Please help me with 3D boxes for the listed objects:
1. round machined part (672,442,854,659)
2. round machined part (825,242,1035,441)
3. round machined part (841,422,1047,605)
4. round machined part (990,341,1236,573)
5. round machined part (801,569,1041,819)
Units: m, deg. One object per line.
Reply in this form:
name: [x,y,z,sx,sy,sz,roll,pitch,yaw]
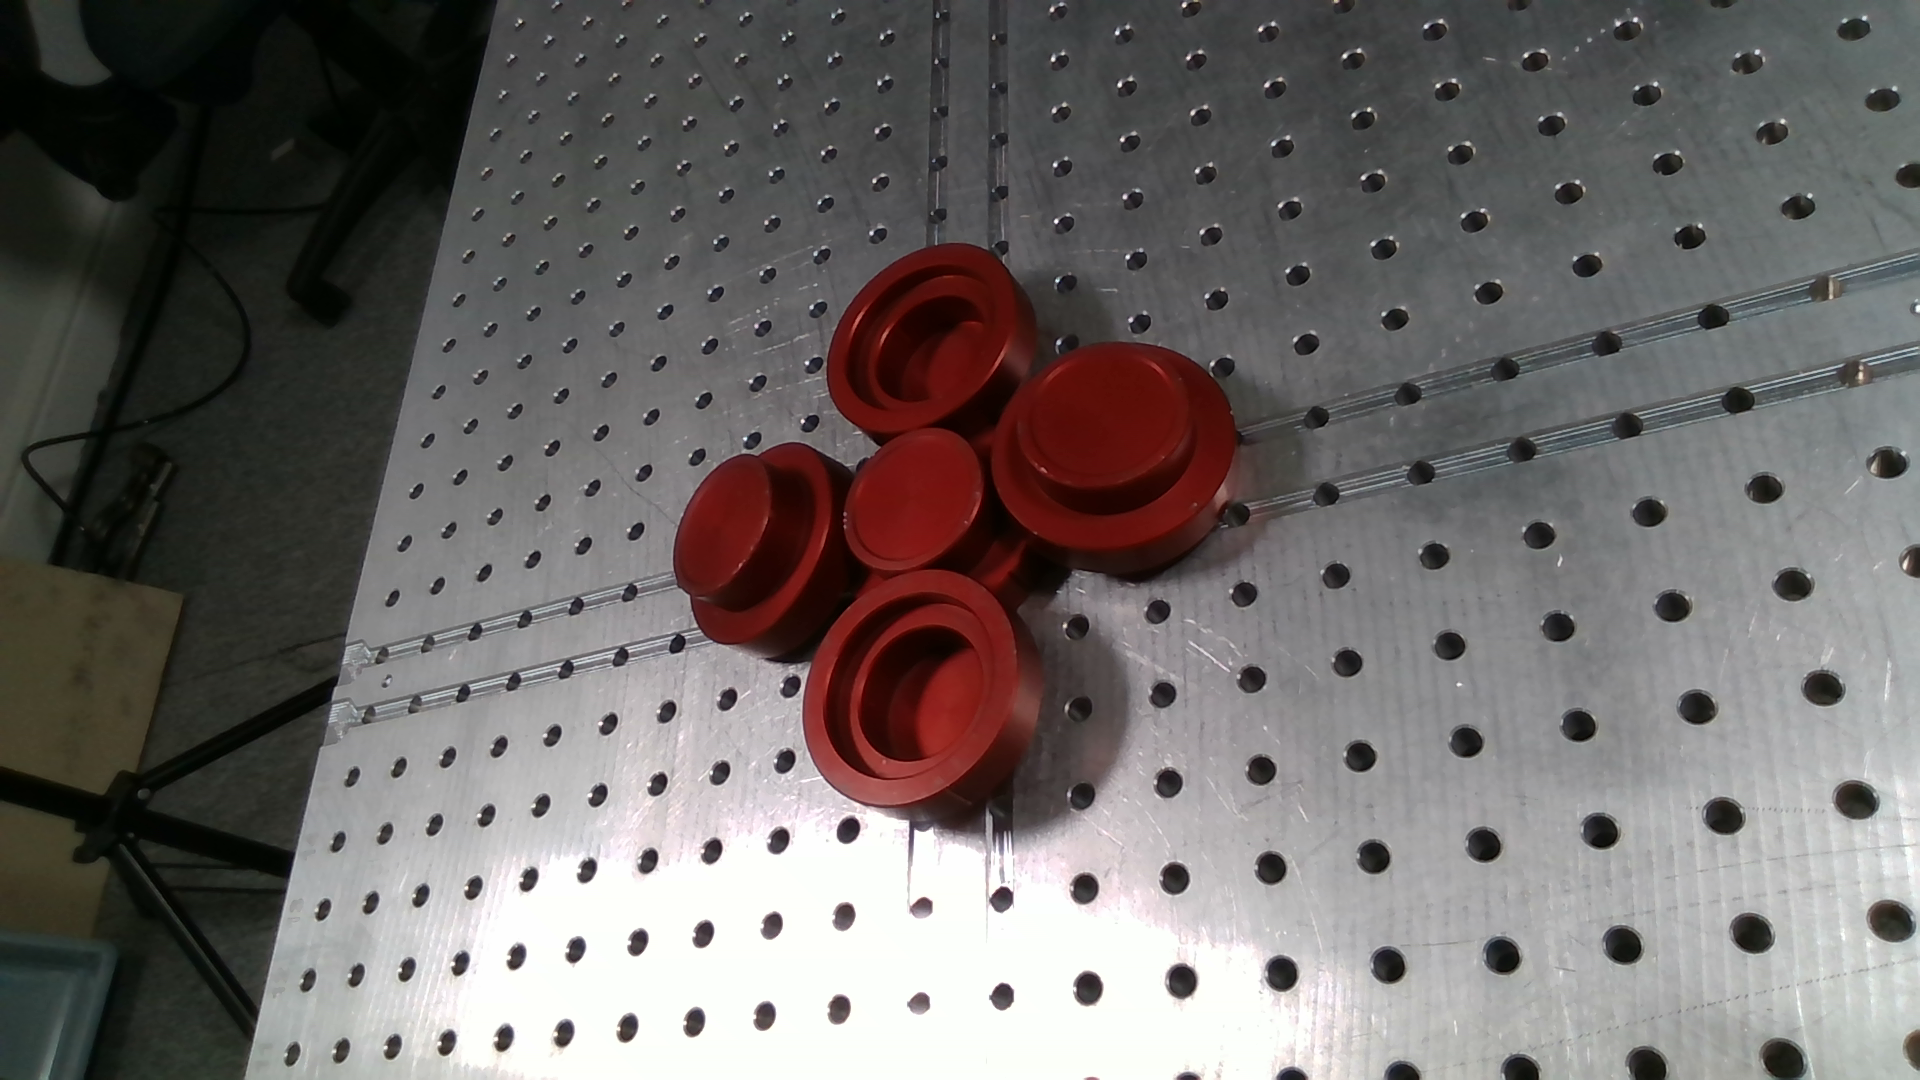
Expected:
round machined part: [-0.092,0.001,0.619,0.098,0.042,0.098,-24,54,37]
round machined part: [-0.009,-0.083,0.627,0.098,0.042,0.098,-14,59,25]
round machined part: [-0.011,-0.010,0.588,0.098,0.042,0.098,-14,59,25]
round machined part: [0.060,-0.040,0.547,0.098,0.042,0.098,-7,59,12]
round machined part: [-0.011,0.064,0.550,0.098,0.042,0.098,-14,59,25]
